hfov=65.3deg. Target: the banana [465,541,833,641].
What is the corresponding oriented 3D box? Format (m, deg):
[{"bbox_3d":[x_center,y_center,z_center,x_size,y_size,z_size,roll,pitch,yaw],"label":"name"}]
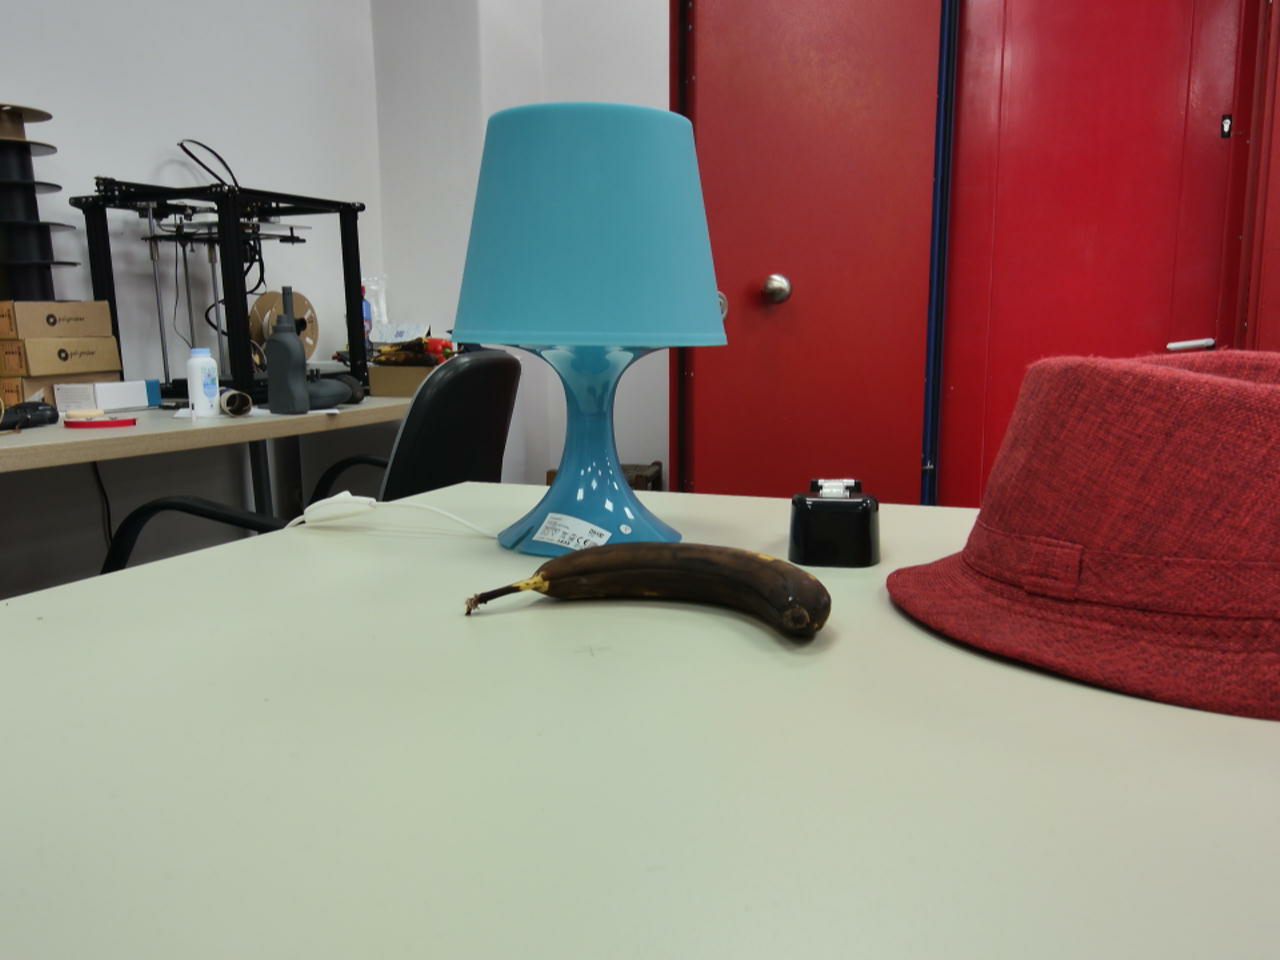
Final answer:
[{"bbox_3d":[0.013,0.053,0.526,0.188,0.033,0.091,3,7,25],"label":"banana"}]
